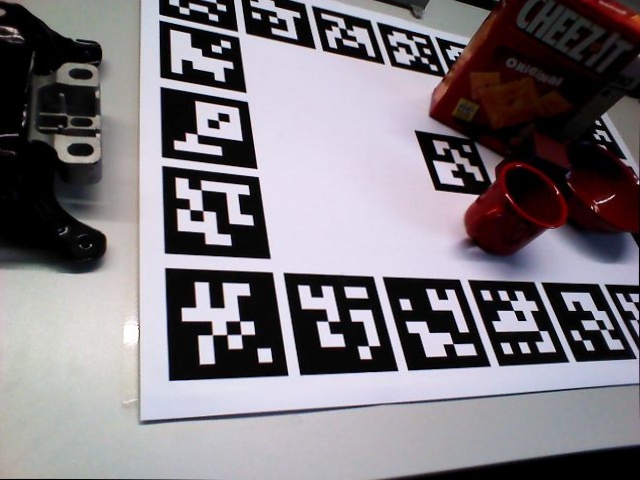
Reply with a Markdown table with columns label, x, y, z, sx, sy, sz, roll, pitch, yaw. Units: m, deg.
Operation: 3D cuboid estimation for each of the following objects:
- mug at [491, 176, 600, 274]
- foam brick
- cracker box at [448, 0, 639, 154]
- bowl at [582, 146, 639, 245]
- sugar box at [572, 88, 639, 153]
| label | x | y | z | sx | sy | sz | roll | pitch | yaw |
| --- | --- | --- | --- | --- | --- | --- | --- | --- | --- |
| mug | 0.247 | -0.013 | 0.599 | 0.117 | 0.082 | 0.093 | -6 | 53 | -27 |
| foam brick | 0.303 | -0.082 | 0.685 | 0.053 | 0.078 | 0.051 | 17 | 52 | -14 |
| cracker box | 0.298 | -0.207 | 0.673 | 0.164 | 0.215 | 0.071 | 29 | 49 | -7 |
| bowl | 0.421 | -0.051 | 0.716 | 0.161 | 0.055 | 0.160 | 12 | 55 | -18 |
| sugar box | 0.390 | -0.202 | 0.737 | 0.093 | 0.178 | 0.045 | 22 | 52 | -11 |
